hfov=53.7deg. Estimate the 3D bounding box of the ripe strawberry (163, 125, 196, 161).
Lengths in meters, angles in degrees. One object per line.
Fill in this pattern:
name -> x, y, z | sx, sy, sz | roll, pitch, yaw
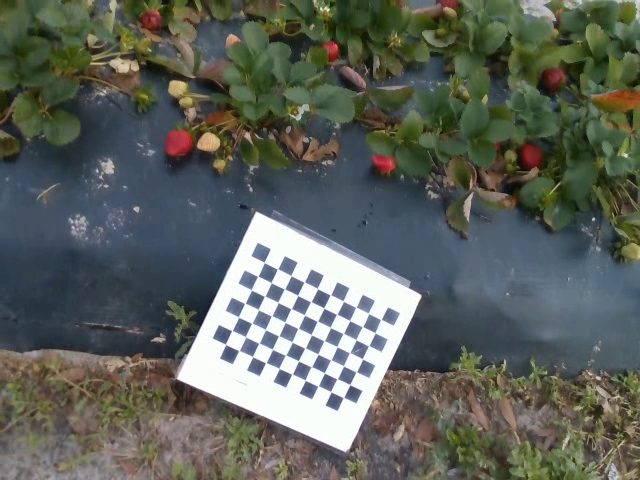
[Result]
ripe strawberry -> -0.210, -0.141, 0.940 | 0.050, 0.034, 0.059 | 15, 42, -10
